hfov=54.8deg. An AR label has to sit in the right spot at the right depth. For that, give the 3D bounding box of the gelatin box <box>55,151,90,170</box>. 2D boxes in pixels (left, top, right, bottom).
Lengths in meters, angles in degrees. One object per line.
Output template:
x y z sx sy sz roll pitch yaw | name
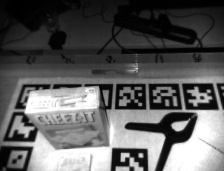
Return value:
-0.108 0.218 0.592 0.089 0.030 0.073 -1 59 5 | gelatin box

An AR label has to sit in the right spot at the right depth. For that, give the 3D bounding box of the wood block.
0.176 0.239 0.515 0.089 0.091 0.207 30 63 26 | wood block

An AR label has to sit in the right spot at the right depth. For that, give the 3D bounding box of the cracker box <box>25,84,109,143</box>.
-0.099 0.081 0.560 0.164 0.215 0.071 -3 56 3 | cracker box

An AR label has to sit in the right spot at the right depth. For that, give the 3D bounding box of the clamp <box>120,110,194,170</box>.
0.149 0.126 0.617 0.203 0.037 0.163 -27 59 -11 | clamp
